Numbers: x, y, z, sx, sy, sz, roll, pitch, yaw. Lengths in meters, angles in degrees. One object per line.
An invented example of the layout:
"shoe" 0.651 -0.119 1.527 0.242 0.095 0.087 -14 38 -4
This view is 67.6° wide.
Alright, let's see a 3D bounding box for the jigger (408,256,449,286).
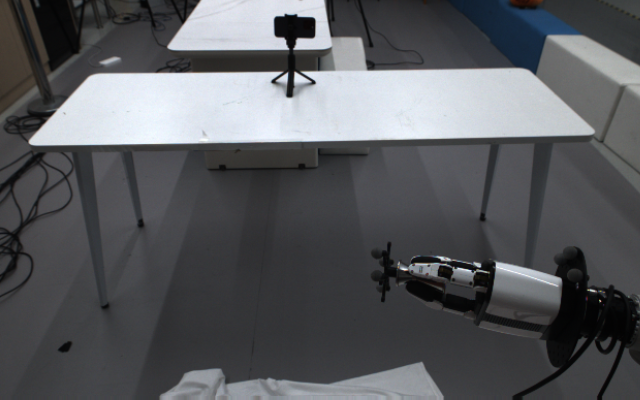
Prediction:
"jigger" 0.153 0.103 0.696 0.071 0.043 0.043 3 34 16
